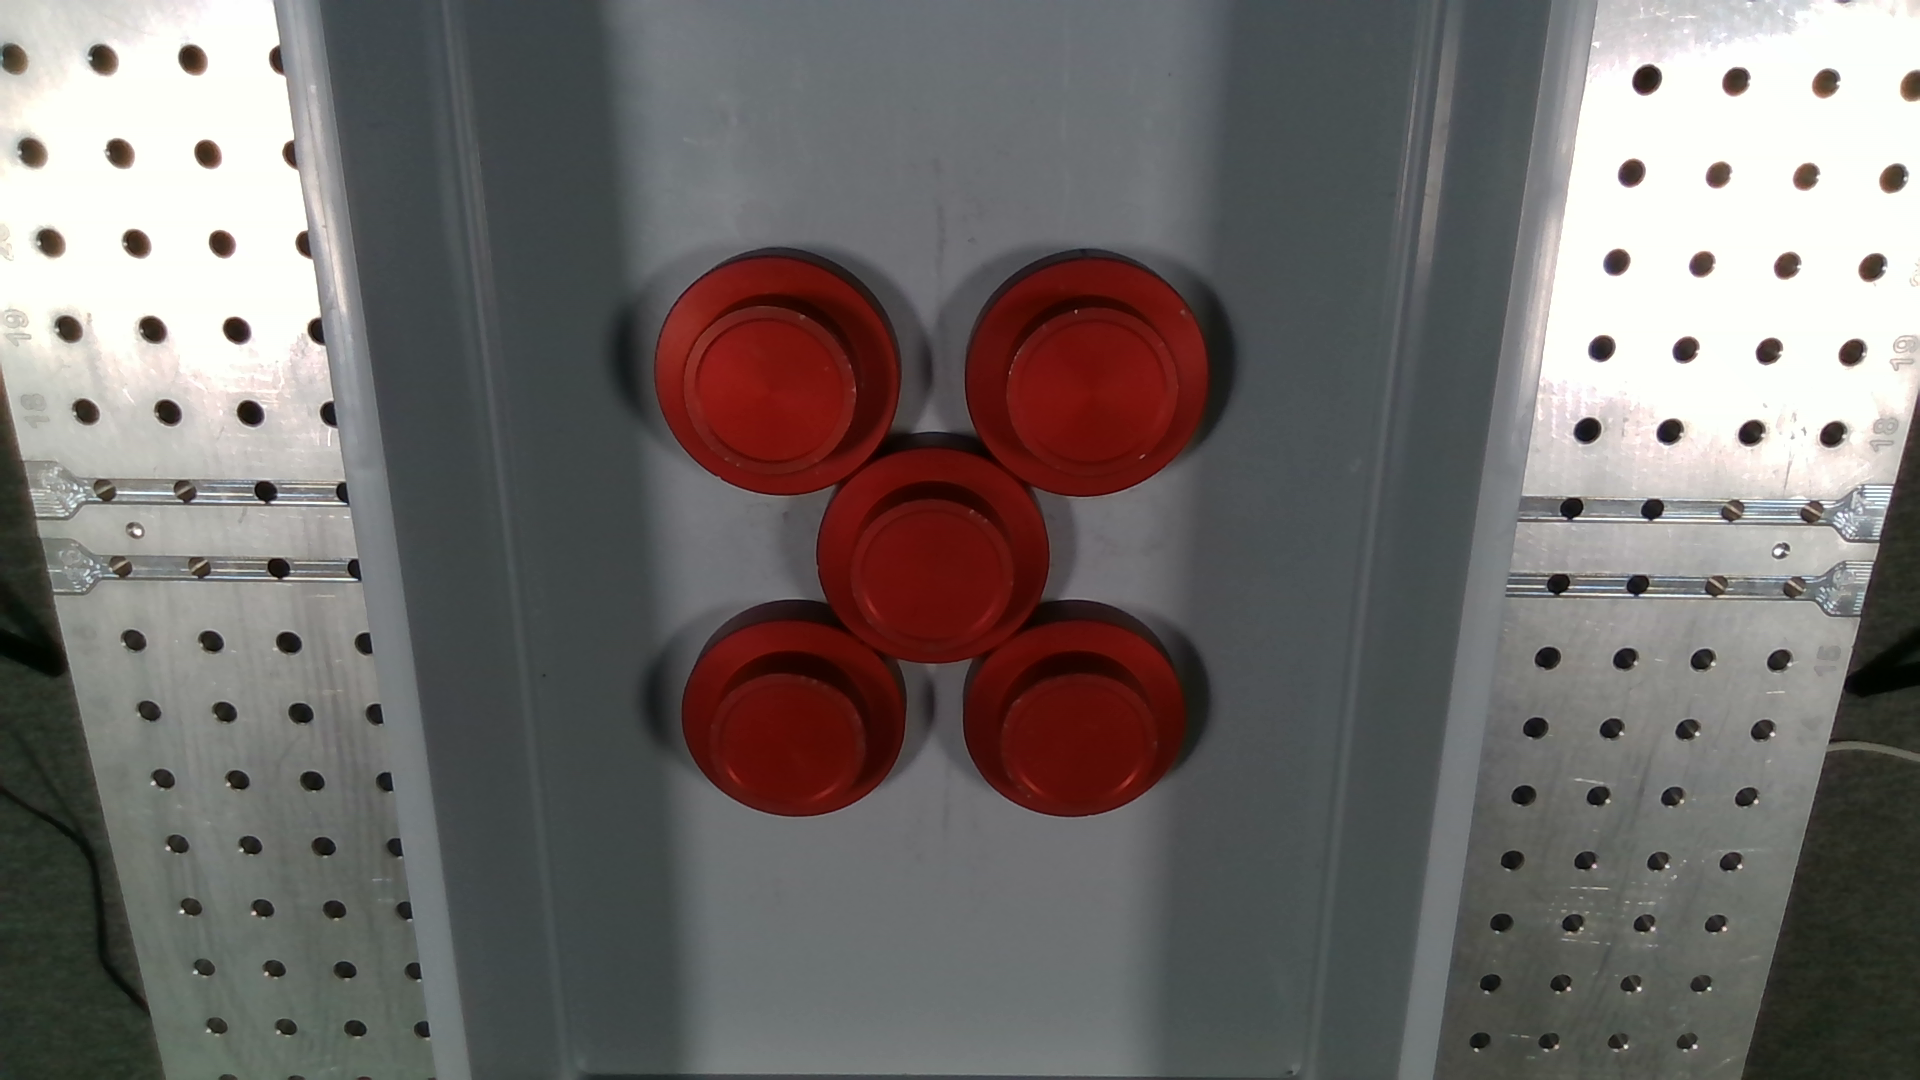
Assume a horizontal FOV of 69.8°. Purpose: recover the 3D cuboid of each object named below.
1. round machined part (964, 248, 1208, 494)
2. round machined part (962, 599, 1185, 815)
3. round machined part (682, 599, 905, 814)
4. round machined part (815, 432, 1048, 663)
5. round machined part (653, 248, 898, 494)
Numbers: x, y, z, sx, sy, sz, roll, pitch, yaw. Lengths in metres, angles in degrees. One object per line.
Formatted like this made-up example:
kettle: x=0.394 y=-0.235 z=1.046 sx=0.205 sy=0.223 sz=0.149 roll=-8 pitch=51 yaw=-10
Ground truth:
round machined part: x=0.051 y=-0.065 z=0.551 sx=0.098 sy=0.042 sz=0.098 roll=0 pitch=110 yaw=0
round machined part: x=0.050 y=0.079 z=0.604 sx=0.098 sy=0.042 sz=0.098 roll=0 pitch=110 yaw=0
round machined part: x=-0.073 y=0.079 z=0.604 sx=0.098 sy=0.042 sz=0.098 roll=0 pitch=110 yaw=0
round machined part: x=-0.012 y=0.007 z=0.577 sx=0.098 sy=0.042 sz=0.098 roll=0 pitch=110 yaw=0
round machined part: x=-0.074 y=-0.065 z=0.551 sx=0.098 sy=0.042 sz=0.098 roll=0 pitch=110 yaw=0
